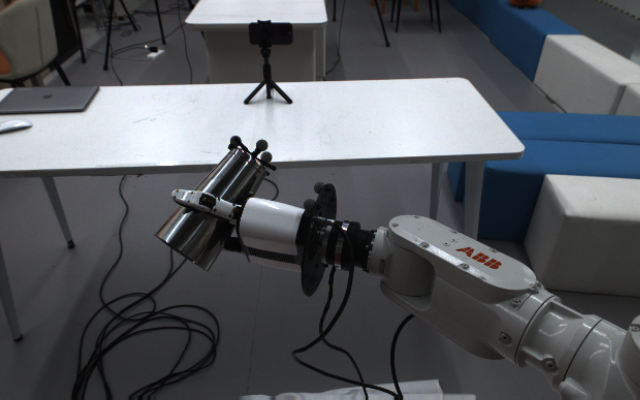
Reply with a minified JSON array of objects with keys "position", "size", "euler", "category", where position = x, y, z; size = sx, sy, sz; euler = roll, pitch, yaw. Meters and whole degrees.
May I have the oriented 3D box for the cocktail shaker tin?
[{"position":[-0.154,0.005,0.712],"size":[0.093,0.093,0.170],"euler":[24,70,28],"category":"cocktail shaker tin"}]
